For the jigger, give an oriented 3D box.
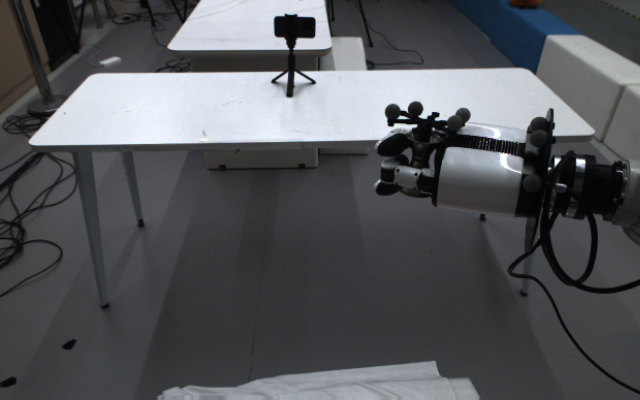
[{"bbox_3d":[0.122,-0.043,0.577,0.043,0.071,0.043,3,25,-1],"label":"jigger"}]
